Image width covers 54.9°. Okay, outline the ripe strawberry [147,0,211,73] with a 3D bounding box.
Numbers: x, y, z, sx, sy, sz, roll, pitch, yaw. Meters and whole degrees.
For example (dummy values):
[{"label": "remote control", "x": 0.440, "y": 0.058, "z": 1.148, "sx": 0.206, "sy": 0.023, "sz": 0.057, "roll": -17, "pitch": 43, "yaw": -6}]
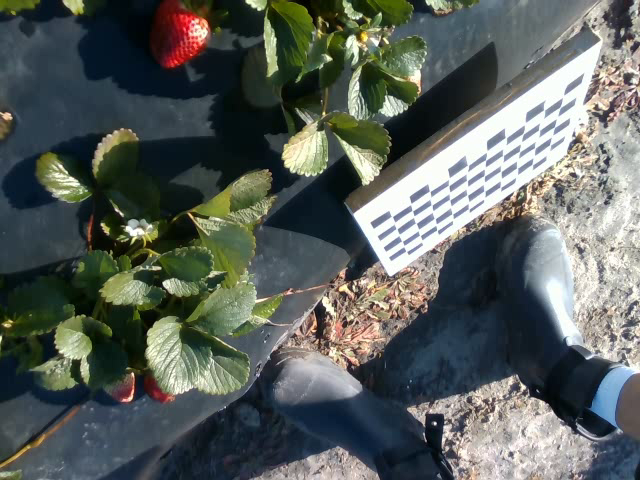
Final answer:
[{"label": "ripe strawberry", "x": -0.097, "y": -0.142, "z": 0.420, "sx": 0.045, "sy": 0.056, "sz": 0.042, "roll": 33, "pitch": 0, "yaw": 19}]
